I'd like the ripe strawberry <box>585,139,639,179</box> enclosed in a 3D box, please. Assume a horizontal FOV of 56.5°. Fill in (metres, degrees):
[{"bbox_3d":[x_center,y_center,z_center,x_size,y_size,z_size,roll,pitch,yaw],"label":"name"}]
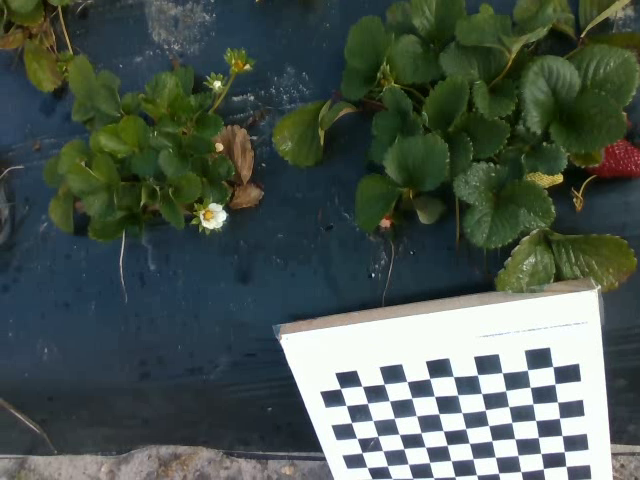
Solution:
[{"bbox_3d":[0.237,-0.062,0.467,0.064,0.051,0.043,18,30,-1],"label":"ripe strawberry"}]
